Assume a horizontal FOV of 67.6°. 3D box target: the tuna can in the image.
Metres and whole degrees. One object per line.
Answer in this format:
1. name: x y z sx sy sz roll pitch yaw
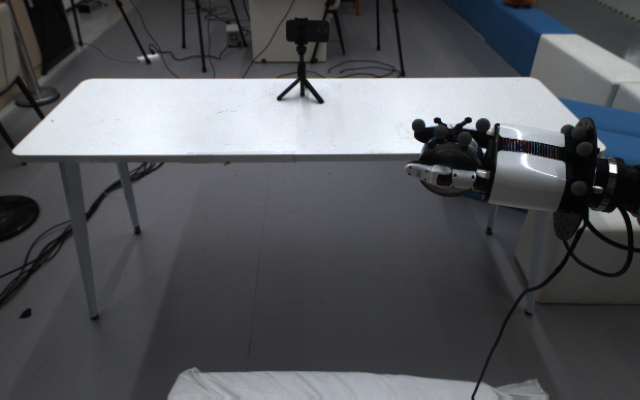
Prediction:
1. tuna can: 0.178 -0.049 0.653 0.085 0.085 0.034 12 39 13
